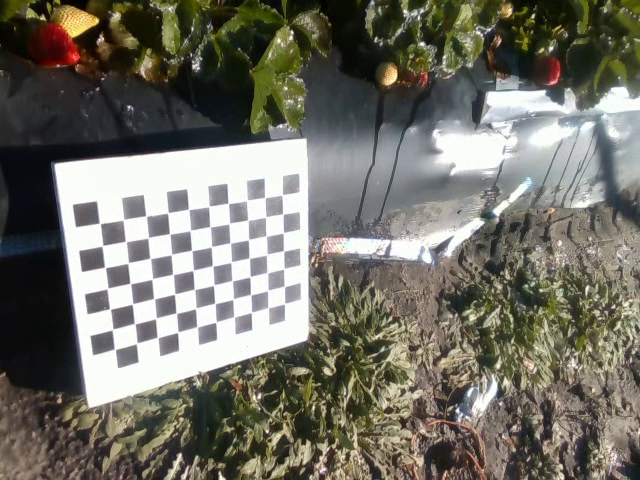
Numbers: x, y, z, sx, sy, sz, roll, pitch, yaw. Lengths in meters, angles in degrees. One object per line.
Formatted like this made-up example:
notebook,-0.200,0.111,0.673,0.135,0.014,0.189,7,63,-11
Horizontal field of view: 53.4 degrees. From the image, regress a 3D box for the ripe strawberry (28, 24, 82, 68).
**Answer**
ripe strawberry,-0.221,-0.161,0.530,0.053,0.040,0.042,32,-20,26
